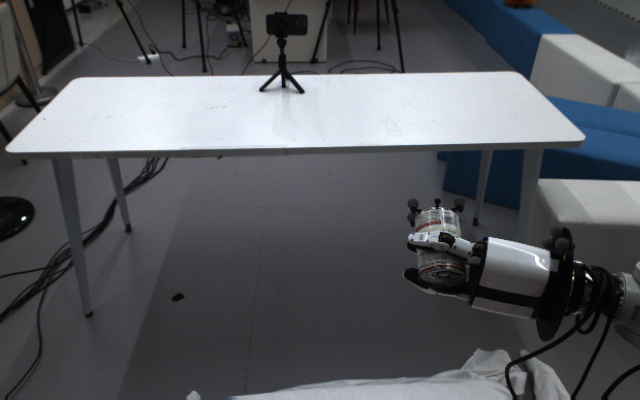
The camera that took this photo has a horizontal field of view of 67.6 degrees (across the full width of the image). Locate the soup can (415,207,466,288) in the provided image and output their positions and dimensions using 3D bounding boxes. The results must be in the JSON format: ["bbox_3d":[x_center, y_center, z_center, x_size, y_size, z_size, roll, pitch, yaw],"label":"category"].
[{"bbox_3d":[0.177,0.069,0.712,0.067,0.067,0.101,3,57,1],"label":"soup can"}]
